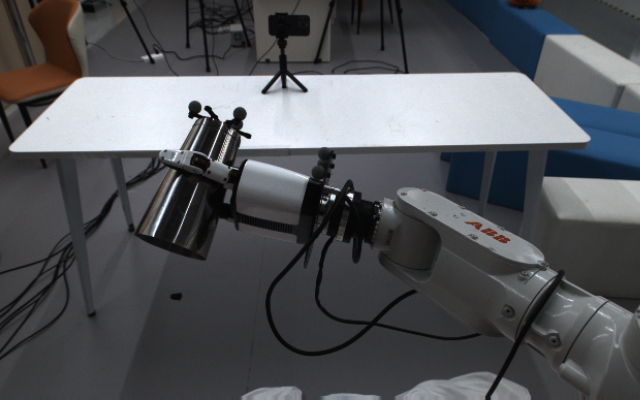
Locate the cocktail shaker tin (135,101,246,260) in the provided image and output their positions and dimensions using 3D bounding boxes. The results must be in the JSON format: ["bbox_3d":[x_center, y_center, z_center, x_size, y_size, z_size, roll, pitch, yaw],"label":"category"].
[{"bbox_3d":[-0.163,-0.018,0.628,0.093,0.093,0.170,12,71,14],"label":"cocktail shaker tin"}]
